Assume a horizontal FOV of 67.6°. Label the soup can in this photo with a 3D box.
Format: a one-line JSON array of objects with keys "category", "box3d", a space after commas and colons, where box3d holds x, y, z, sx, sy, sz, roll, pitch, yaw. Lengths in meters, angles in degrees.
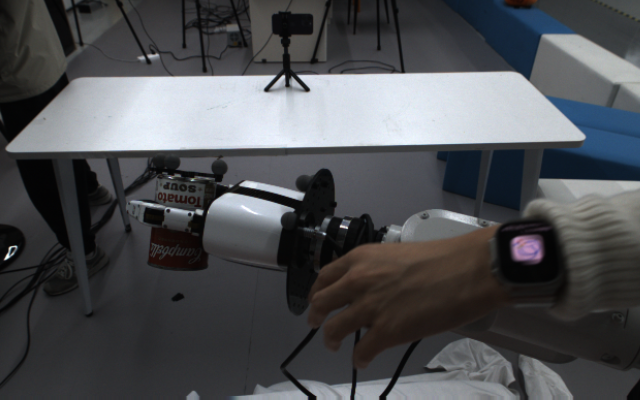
[{"category": "soup can", "box3d": [-0.155, 0.026, 0.551, 0.067, 0.101, 0.067, 7, 3, 0]}]
